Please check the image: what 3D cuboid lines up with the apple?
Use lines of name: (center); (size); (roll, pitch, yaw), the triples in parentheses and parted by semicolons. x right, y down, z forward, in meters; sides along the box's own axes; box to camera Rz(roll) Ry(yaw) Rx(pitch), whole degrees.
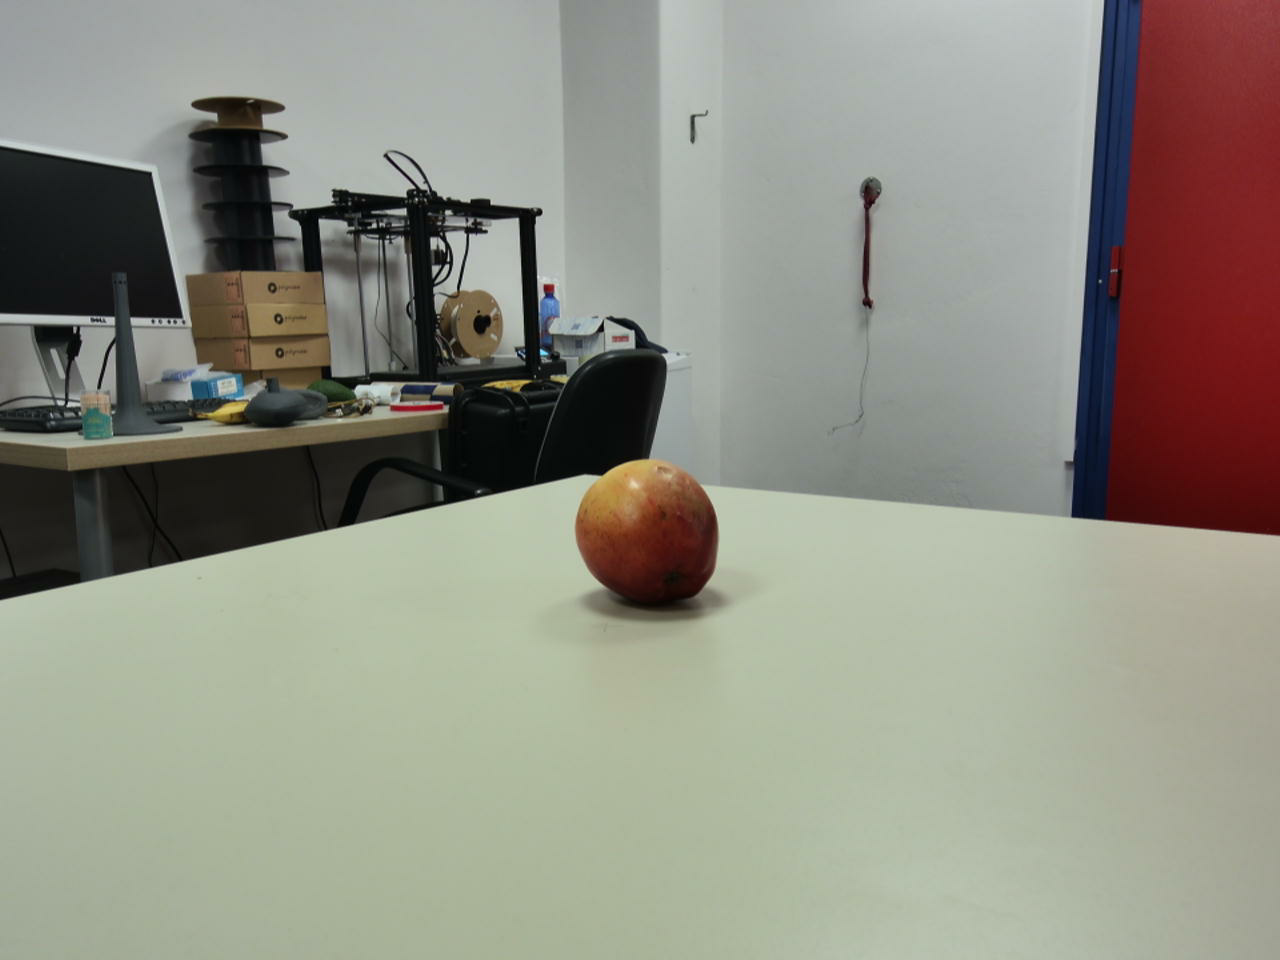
apple: (0.004, 0.030, 0.608); (0.086, 0.084, 0.093); (1, 7, -1)
